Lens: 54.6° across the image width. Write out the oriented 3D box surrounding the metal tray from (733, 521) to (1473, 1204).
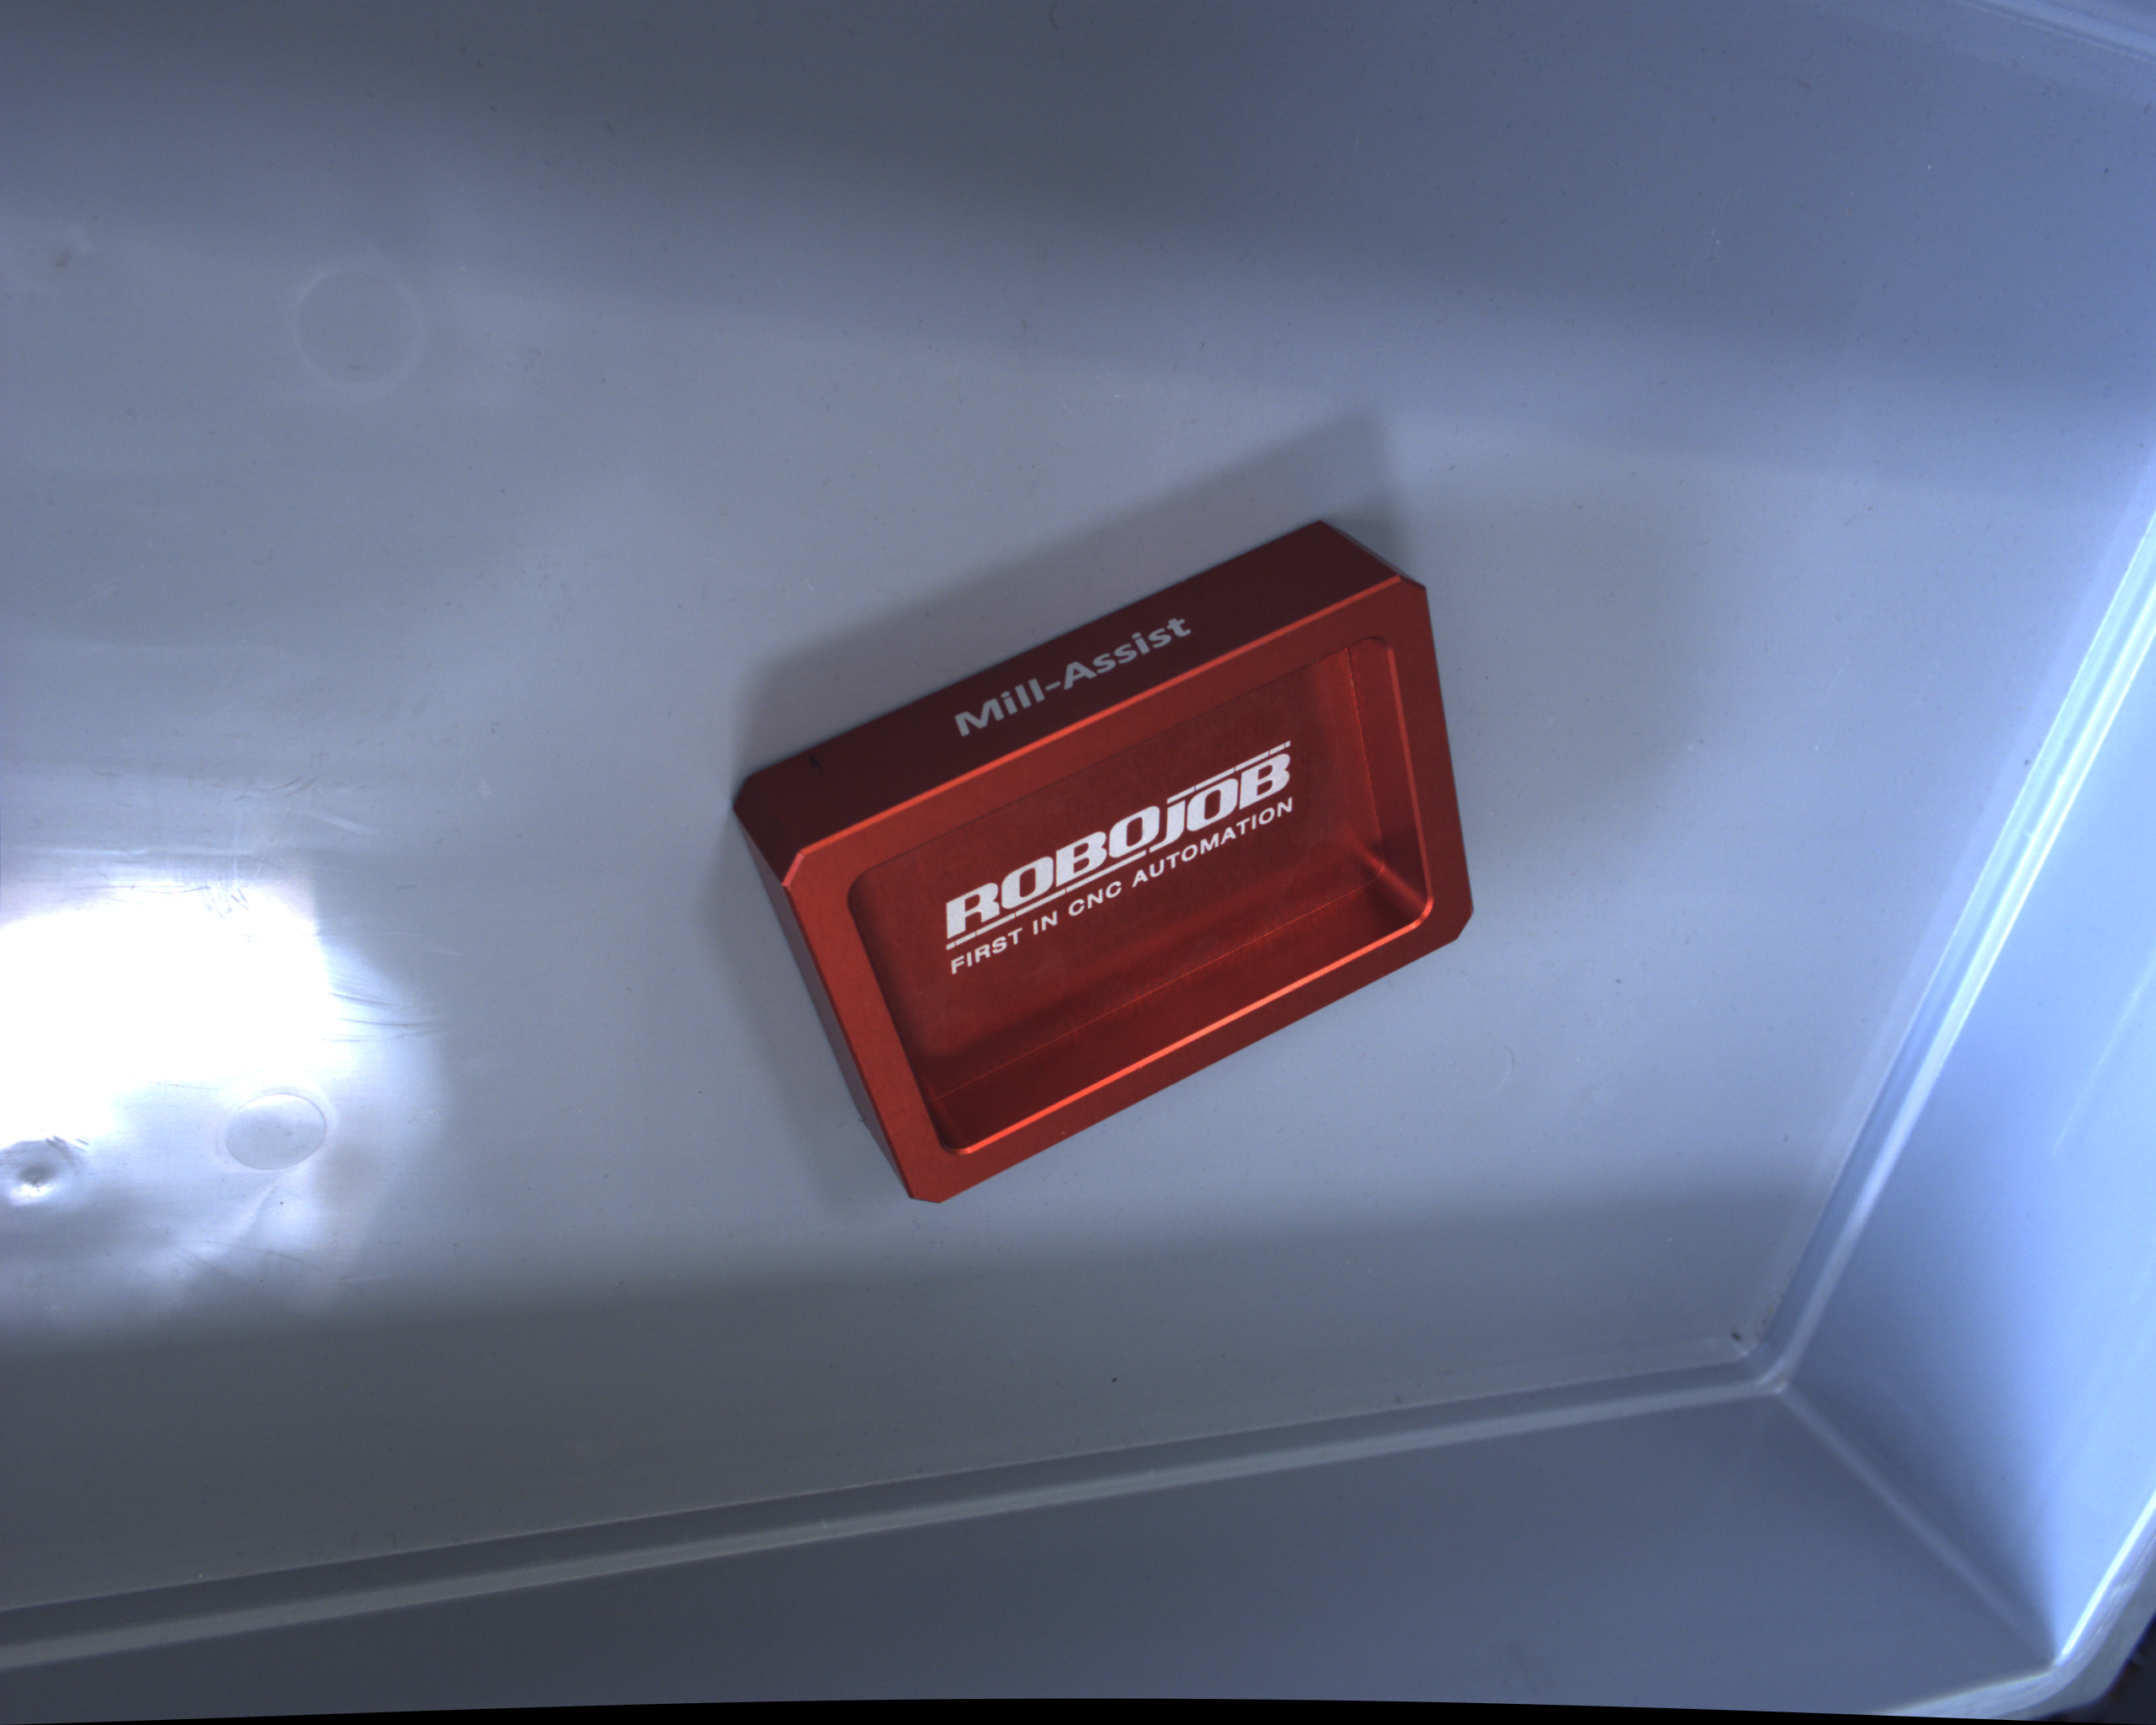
[{"bbox_3d":[0.010,0.000,0.406,0.131,0.030,0.090,-26,128,-13],"label":"metal tray"}]
